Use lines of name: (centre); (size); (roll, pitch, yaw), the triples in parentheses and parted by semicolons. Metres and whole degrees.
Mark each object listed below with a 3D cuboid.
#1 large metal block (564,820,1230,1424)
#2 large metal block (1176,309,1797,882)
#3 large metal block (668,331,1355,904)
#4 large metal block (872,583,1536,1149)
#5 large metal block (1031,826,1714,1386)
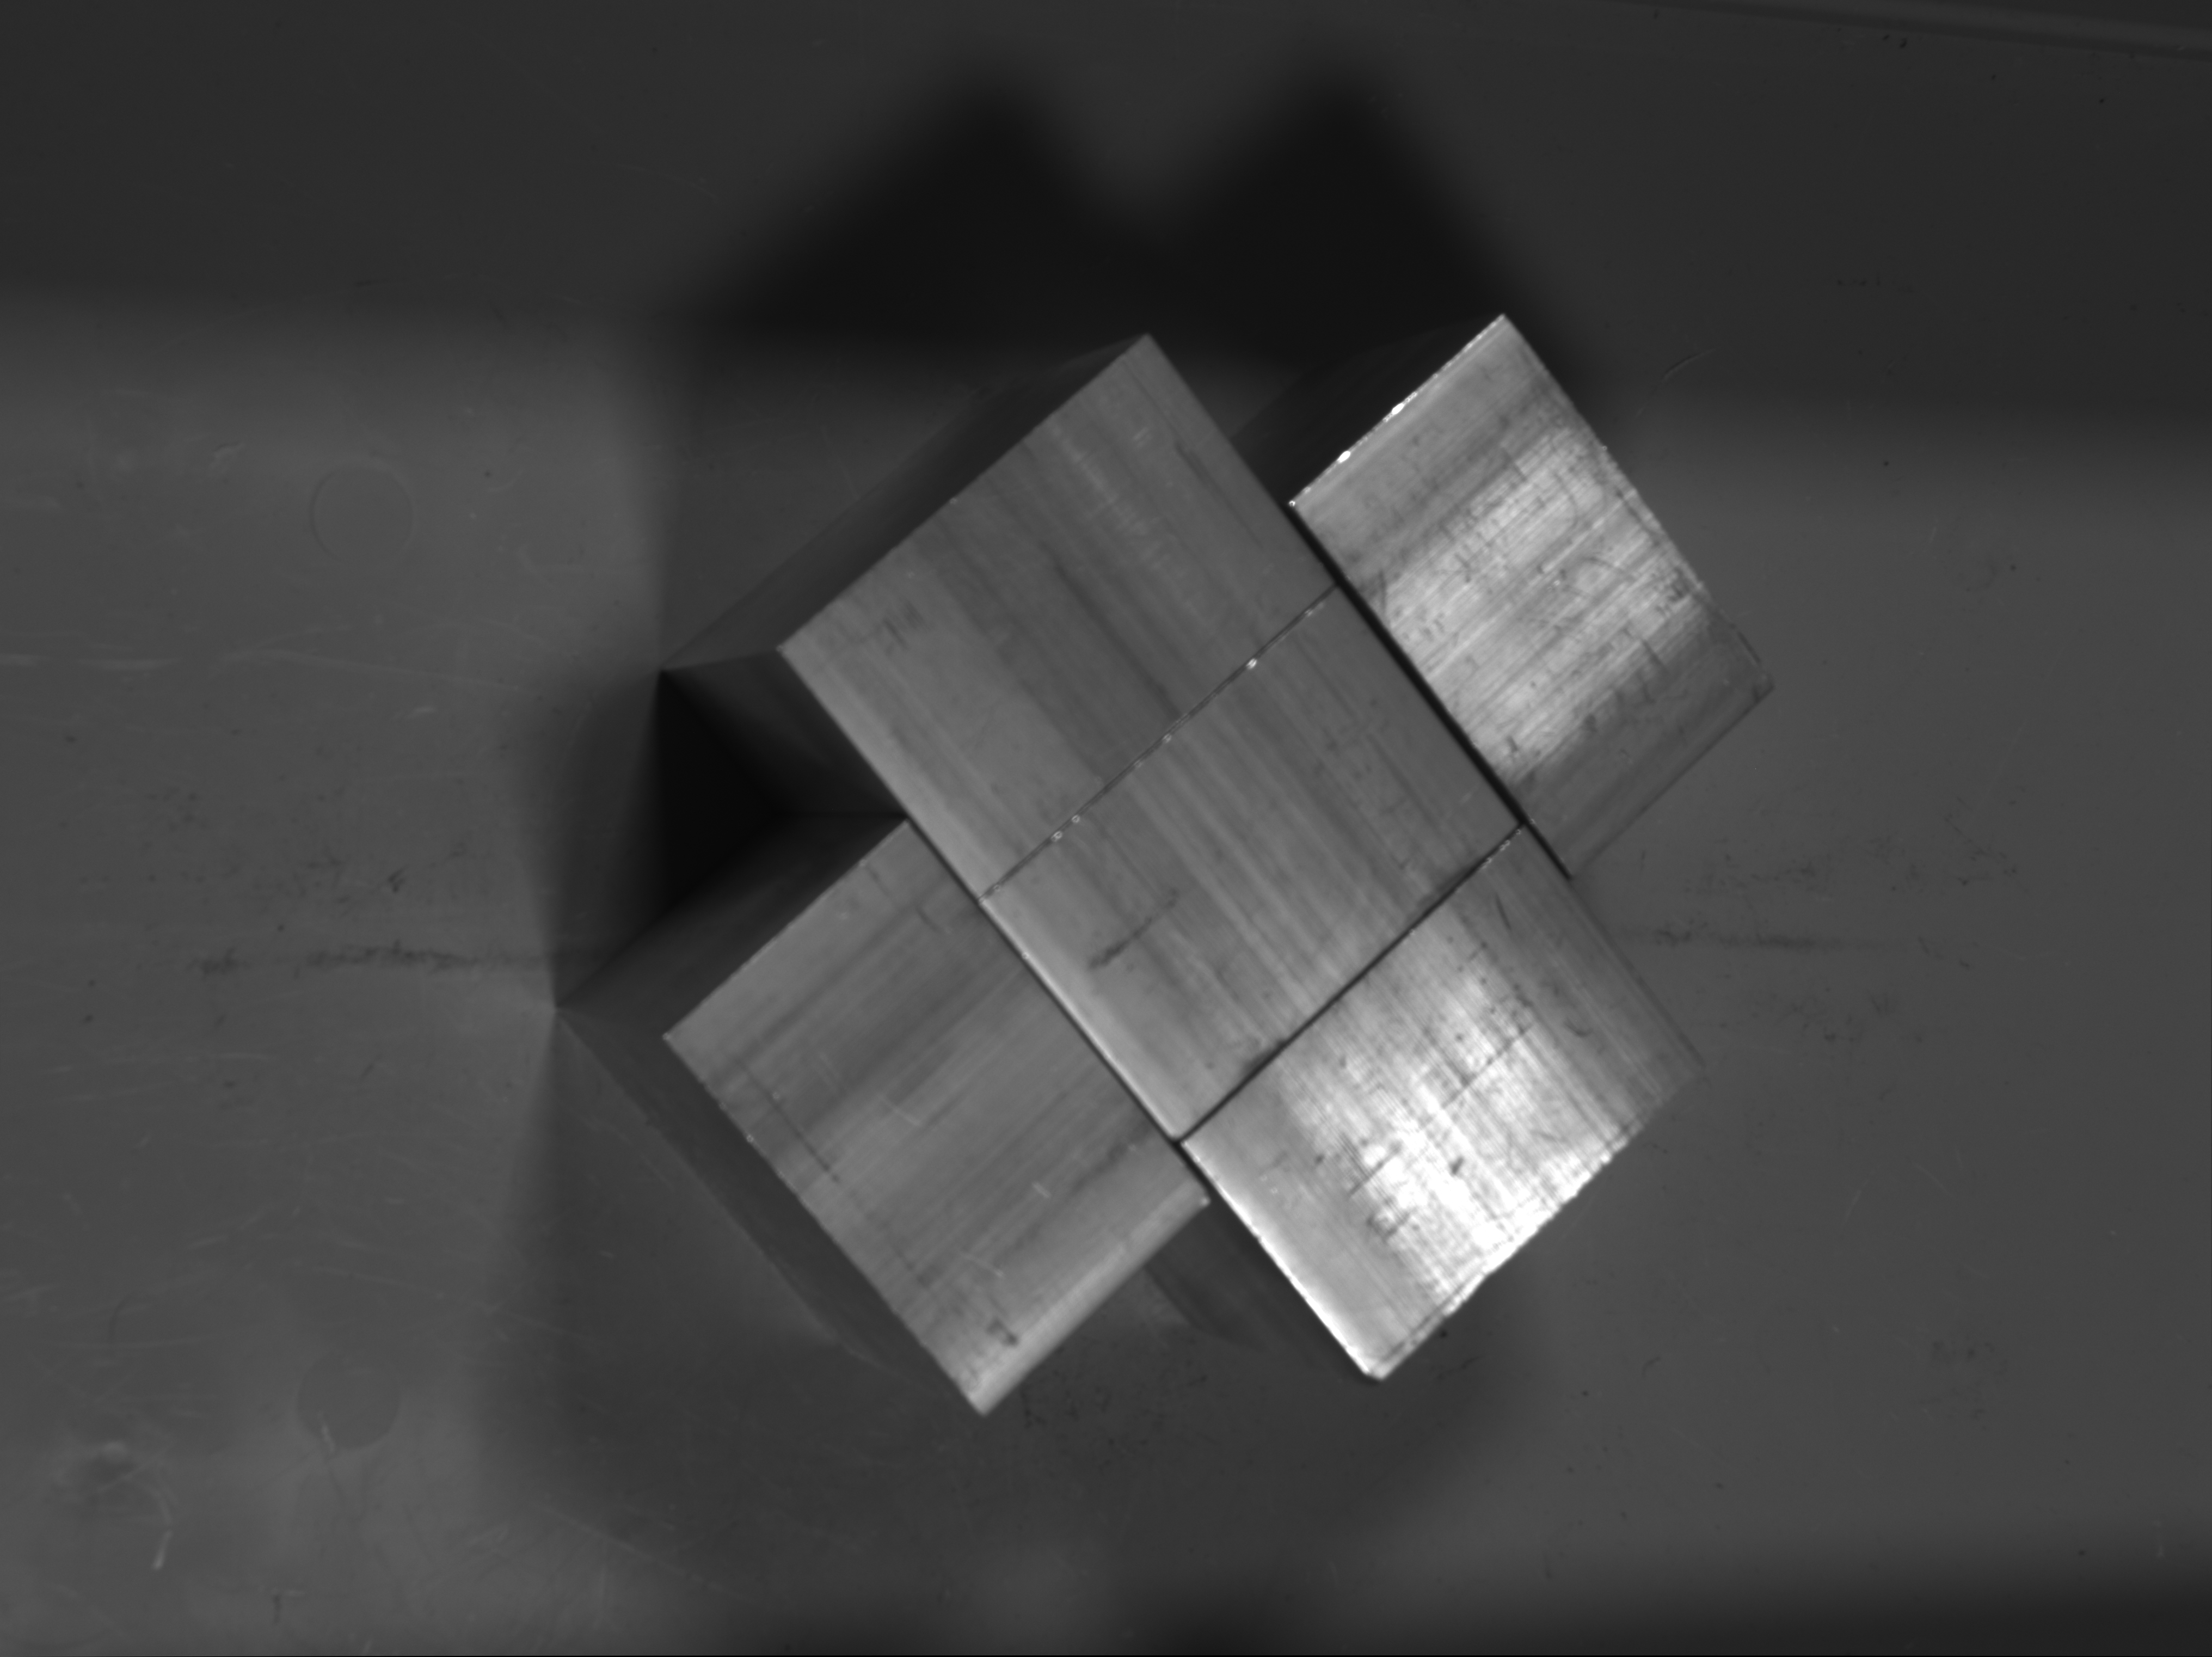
large metal block: (-0.036, 0.045, 0.601); (0.050, 0.080, 0.080); (-42, 103, -15)
large metal block: (0.060, -0.038, 0.636); (0.050, 0.080, 0.080); (-42, 103, -15)
large metal block: (-0.018, -0.033, 0.607); (0.080, 0.080, 0.050); (-42, 103, -15)
large metal block: (0.013, 0.006, 0.618); (0.080, 0.080, 0.050); (-42, 103, -15)
large metal block: (0.044, 0.045, 0.630); (0.080, 0.080, 0.050); (-42, 103, -15)
